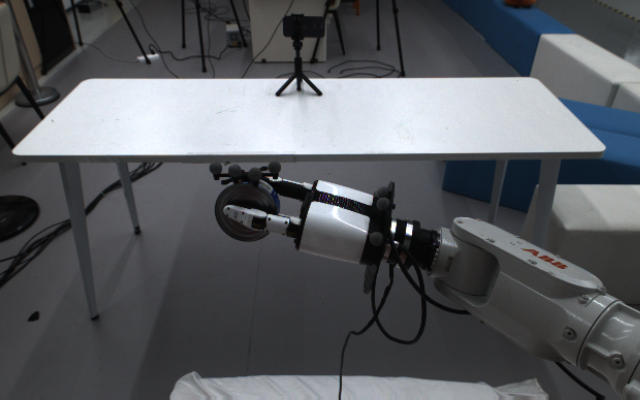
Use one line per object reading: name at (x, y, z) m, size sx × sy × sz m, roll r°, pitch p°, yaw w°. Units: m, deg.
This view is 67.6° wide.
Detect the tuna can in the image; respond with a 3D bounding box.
tuna can at (-0.093, 0.013, 0.664) m, size 0.085 × 0.085 × 0.034 m, roll 4°, pitch 17°, yaw 3°
